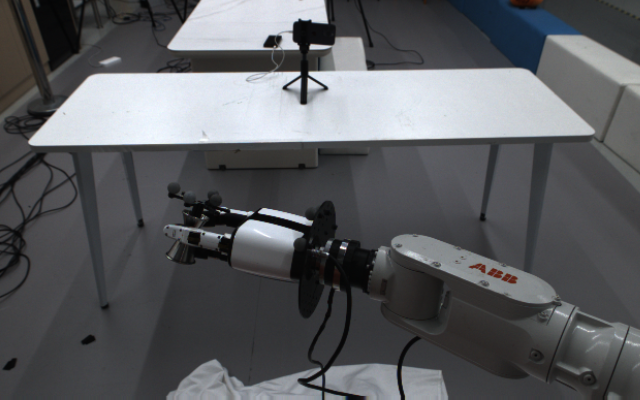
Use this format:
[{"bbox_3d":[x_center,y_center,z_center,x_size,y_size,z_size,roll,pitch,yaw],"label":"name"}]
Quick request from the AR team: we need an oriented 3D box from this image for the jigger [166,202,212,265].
[{"bbox_3d":[-0.187,0.050,0.681,0.043,0.071,0.043,21,6,-2],"label":"jigger"}]
